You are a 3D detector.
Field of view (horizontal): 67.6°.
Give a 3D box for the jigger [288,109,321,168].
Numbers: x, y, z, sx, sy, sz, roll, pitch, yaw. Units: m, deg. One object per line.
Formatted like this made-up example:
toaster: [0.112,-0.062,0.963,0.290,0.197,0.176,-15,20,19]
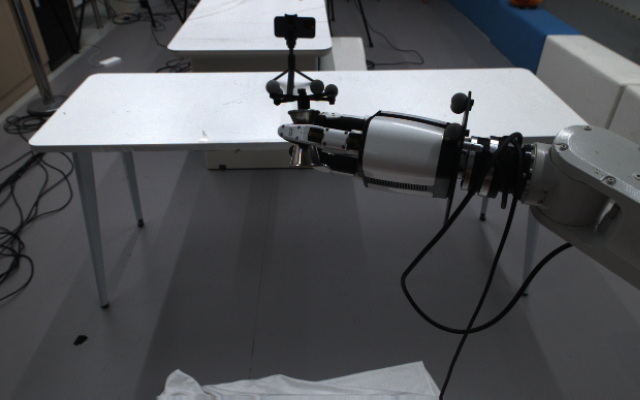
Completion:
jigger: [-0.019,-0.075,0.598,0.043,0.071,0.043,-2,3,0]
